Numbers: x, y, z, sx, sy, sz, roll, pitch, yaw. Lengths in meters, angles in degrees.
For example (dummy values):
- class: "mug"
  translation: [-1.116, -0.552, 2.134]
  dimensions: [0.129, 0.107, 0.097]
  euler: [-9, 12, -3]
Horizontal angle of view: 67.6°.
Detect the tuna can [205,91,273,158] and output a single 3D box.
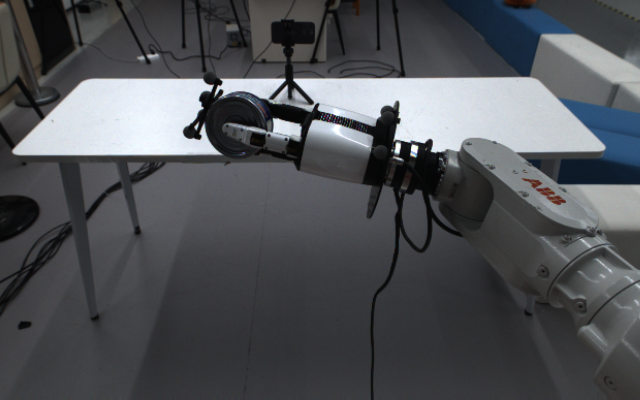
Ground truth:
- class: "tuna can"
  translation: [-0.106, -0.100, 0.643]
  dimensions: [0.085, 0.085, 0.034]
  euler: [6, 20, 5]
